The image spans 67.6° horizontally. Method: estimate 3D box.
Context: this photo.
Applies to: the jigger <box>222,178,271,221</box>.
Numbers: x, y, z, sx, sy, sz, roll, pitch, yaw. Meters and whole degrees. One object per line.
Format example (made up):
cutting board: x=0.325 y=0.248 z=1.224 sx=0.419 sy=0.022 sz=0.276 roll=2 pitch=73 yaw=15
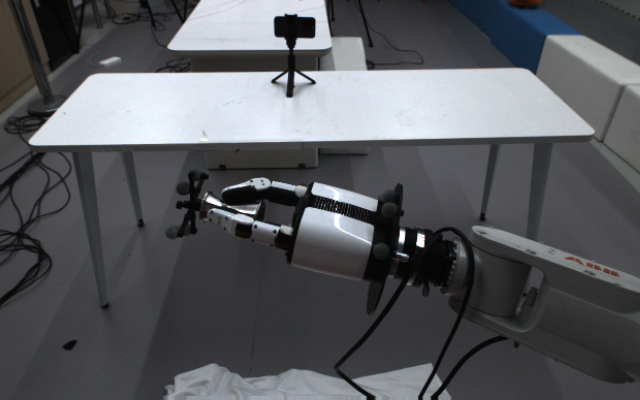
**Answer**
jigger: x=-0.098 y=0.013 z=0.580 sx=0.071 sy=0.043 sz=0.043 roll=12 pitch=36 yaw=5
